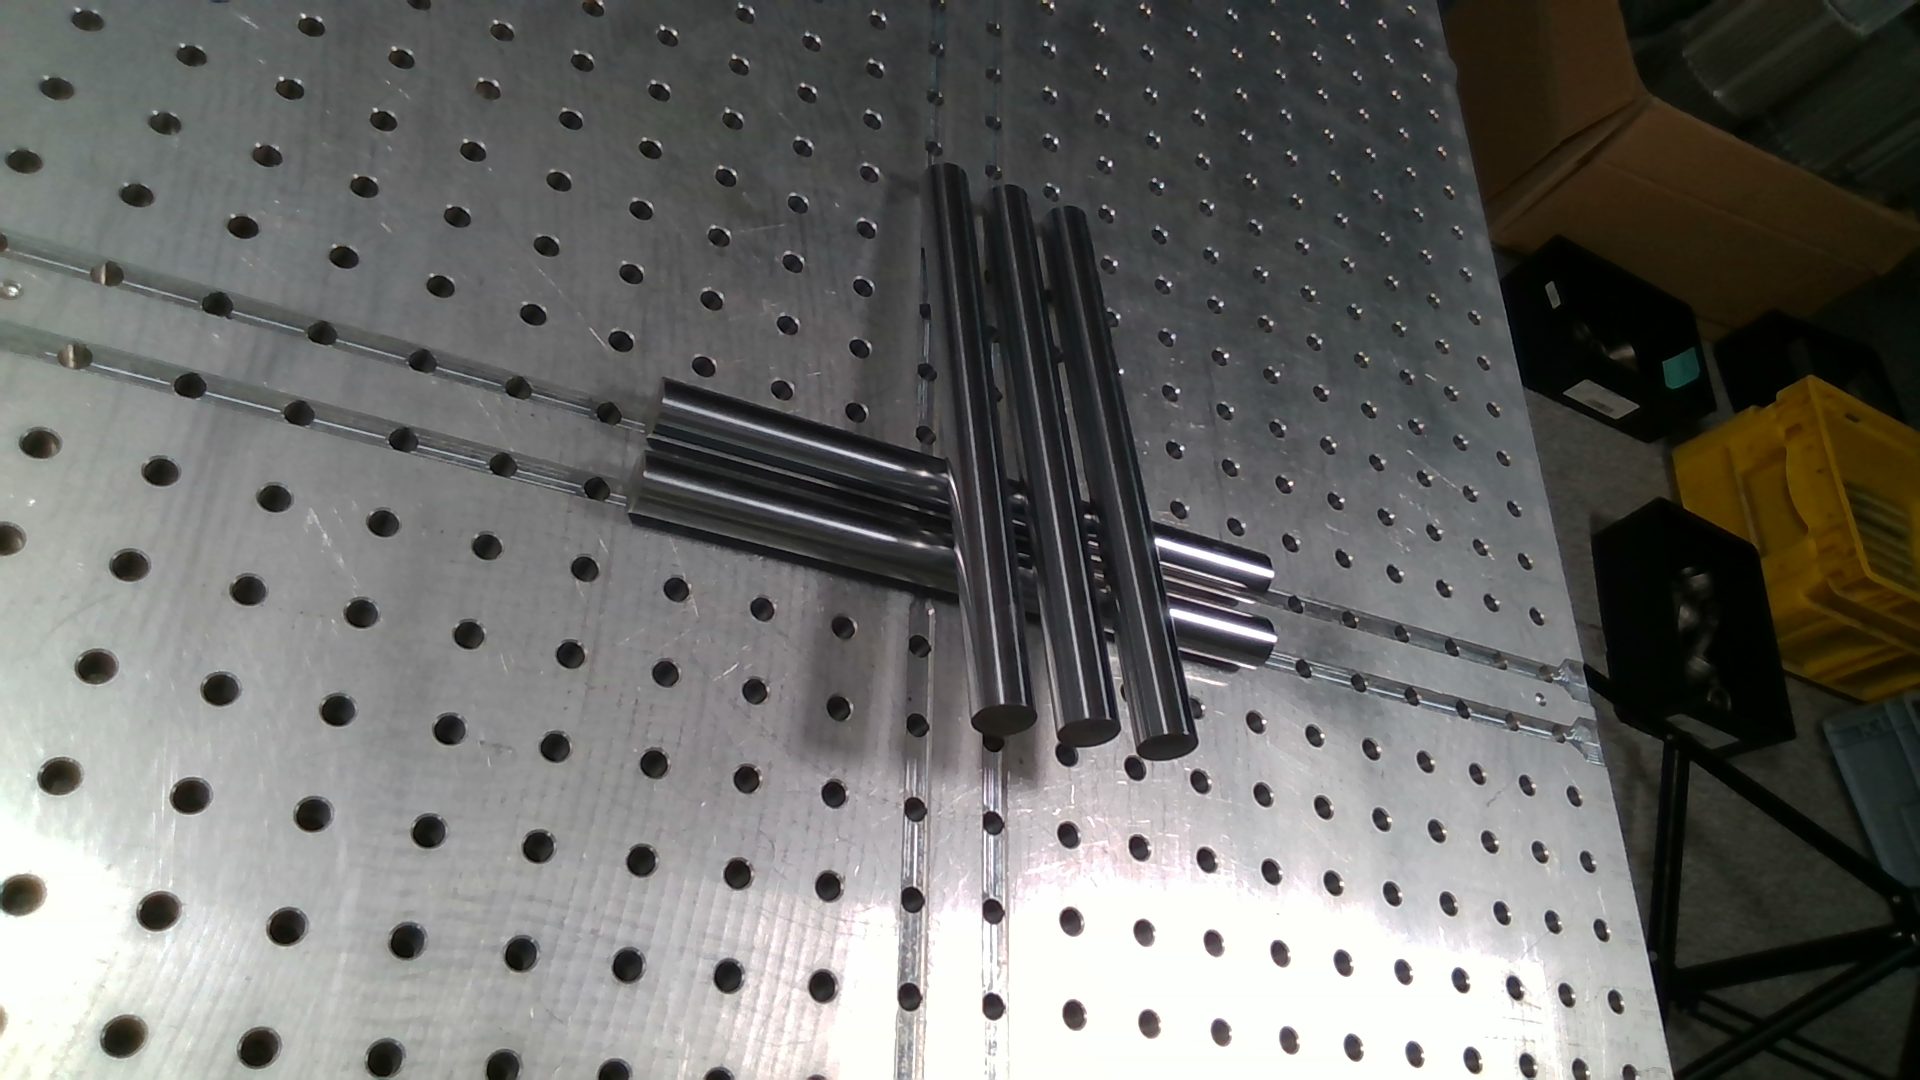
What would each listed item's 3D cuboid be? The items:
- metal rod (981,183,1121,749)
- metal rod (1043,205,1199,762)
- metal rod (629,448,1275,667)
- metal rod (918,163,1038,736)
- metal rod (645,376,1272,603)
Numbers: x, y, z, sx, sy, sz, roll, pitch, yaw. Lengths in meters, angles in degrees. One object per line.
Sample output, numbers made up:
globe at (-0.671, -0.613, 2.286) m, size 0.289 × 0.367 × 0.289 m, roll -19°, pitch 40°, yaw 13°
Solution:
metal rod at (0.035, -0.048, 0.610) m, size 0.025 × 0.025 × 0.299 m, roll 13°, pitch 51°, yaw -26°
metal rod at (0.067, -0.041, 0.626) m, size 0.025 × 0.025 × 0.299 m, roll 13°, pitch 51°, yaw -26°
metal rod at (0.008, 0.013, 0.588) m, size 0.300 × 0.025 × 0.025 m, roll 15°, pitch 58°, yaw -24°
metal rod at (0.004, -0.055, 0.594) m, size 0.025 × 0.025 × 0.299 m, roll 14°, pitch 50°, yaw -25°
metal rod at (0.011, -0.017, 0.606) m, size 0.300 × 0.025 × 0.025 m, roll 15°, pitch 58°, yaw -24°
